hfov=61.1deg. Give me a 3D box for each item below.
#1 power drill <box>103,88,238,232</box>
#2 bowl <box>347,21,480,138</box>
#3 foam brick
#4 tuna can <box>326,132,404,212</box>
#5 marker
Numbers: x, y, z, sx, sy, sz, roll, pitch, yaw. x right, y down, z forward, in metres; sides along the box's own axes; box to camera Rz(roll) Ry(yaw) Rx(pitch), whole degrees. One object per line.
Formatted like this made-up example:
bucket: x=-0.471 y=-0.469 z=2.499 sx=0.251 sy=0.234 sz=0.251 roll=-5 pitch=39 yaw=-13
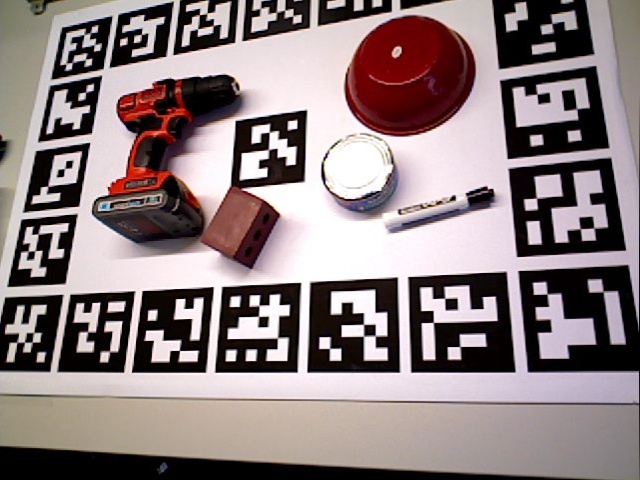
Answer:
power drill: x=-0.198 y=-0.109 z=0.700 sx=0.185 sy=0.058 sz=0.185 roll=-4 pitch=69 yaw=13
bowl: x=0.103 y=-0.202 z=0.639 sx=0.163 sy=0.055 sz=0.160 roll=-9 pitch=63 yaw=18
foam brick: x=-0.089 y=-0.009 z=0.637 sx=0.051 sy=0.053 sz=0.078 roll=21 pitch=81 yaw=21
tuna can: x=0.051 y=-0.076 z=0.615 sx=0.086 sy=0.034 sz=0.085 roll=-5 pitch=71 yaw=14
marker: x=0.134 y=-0.031 z=0.580 sx=0.122 sy=0.020 sz=0.019 roll=-14 pitch=70 yaw=13
